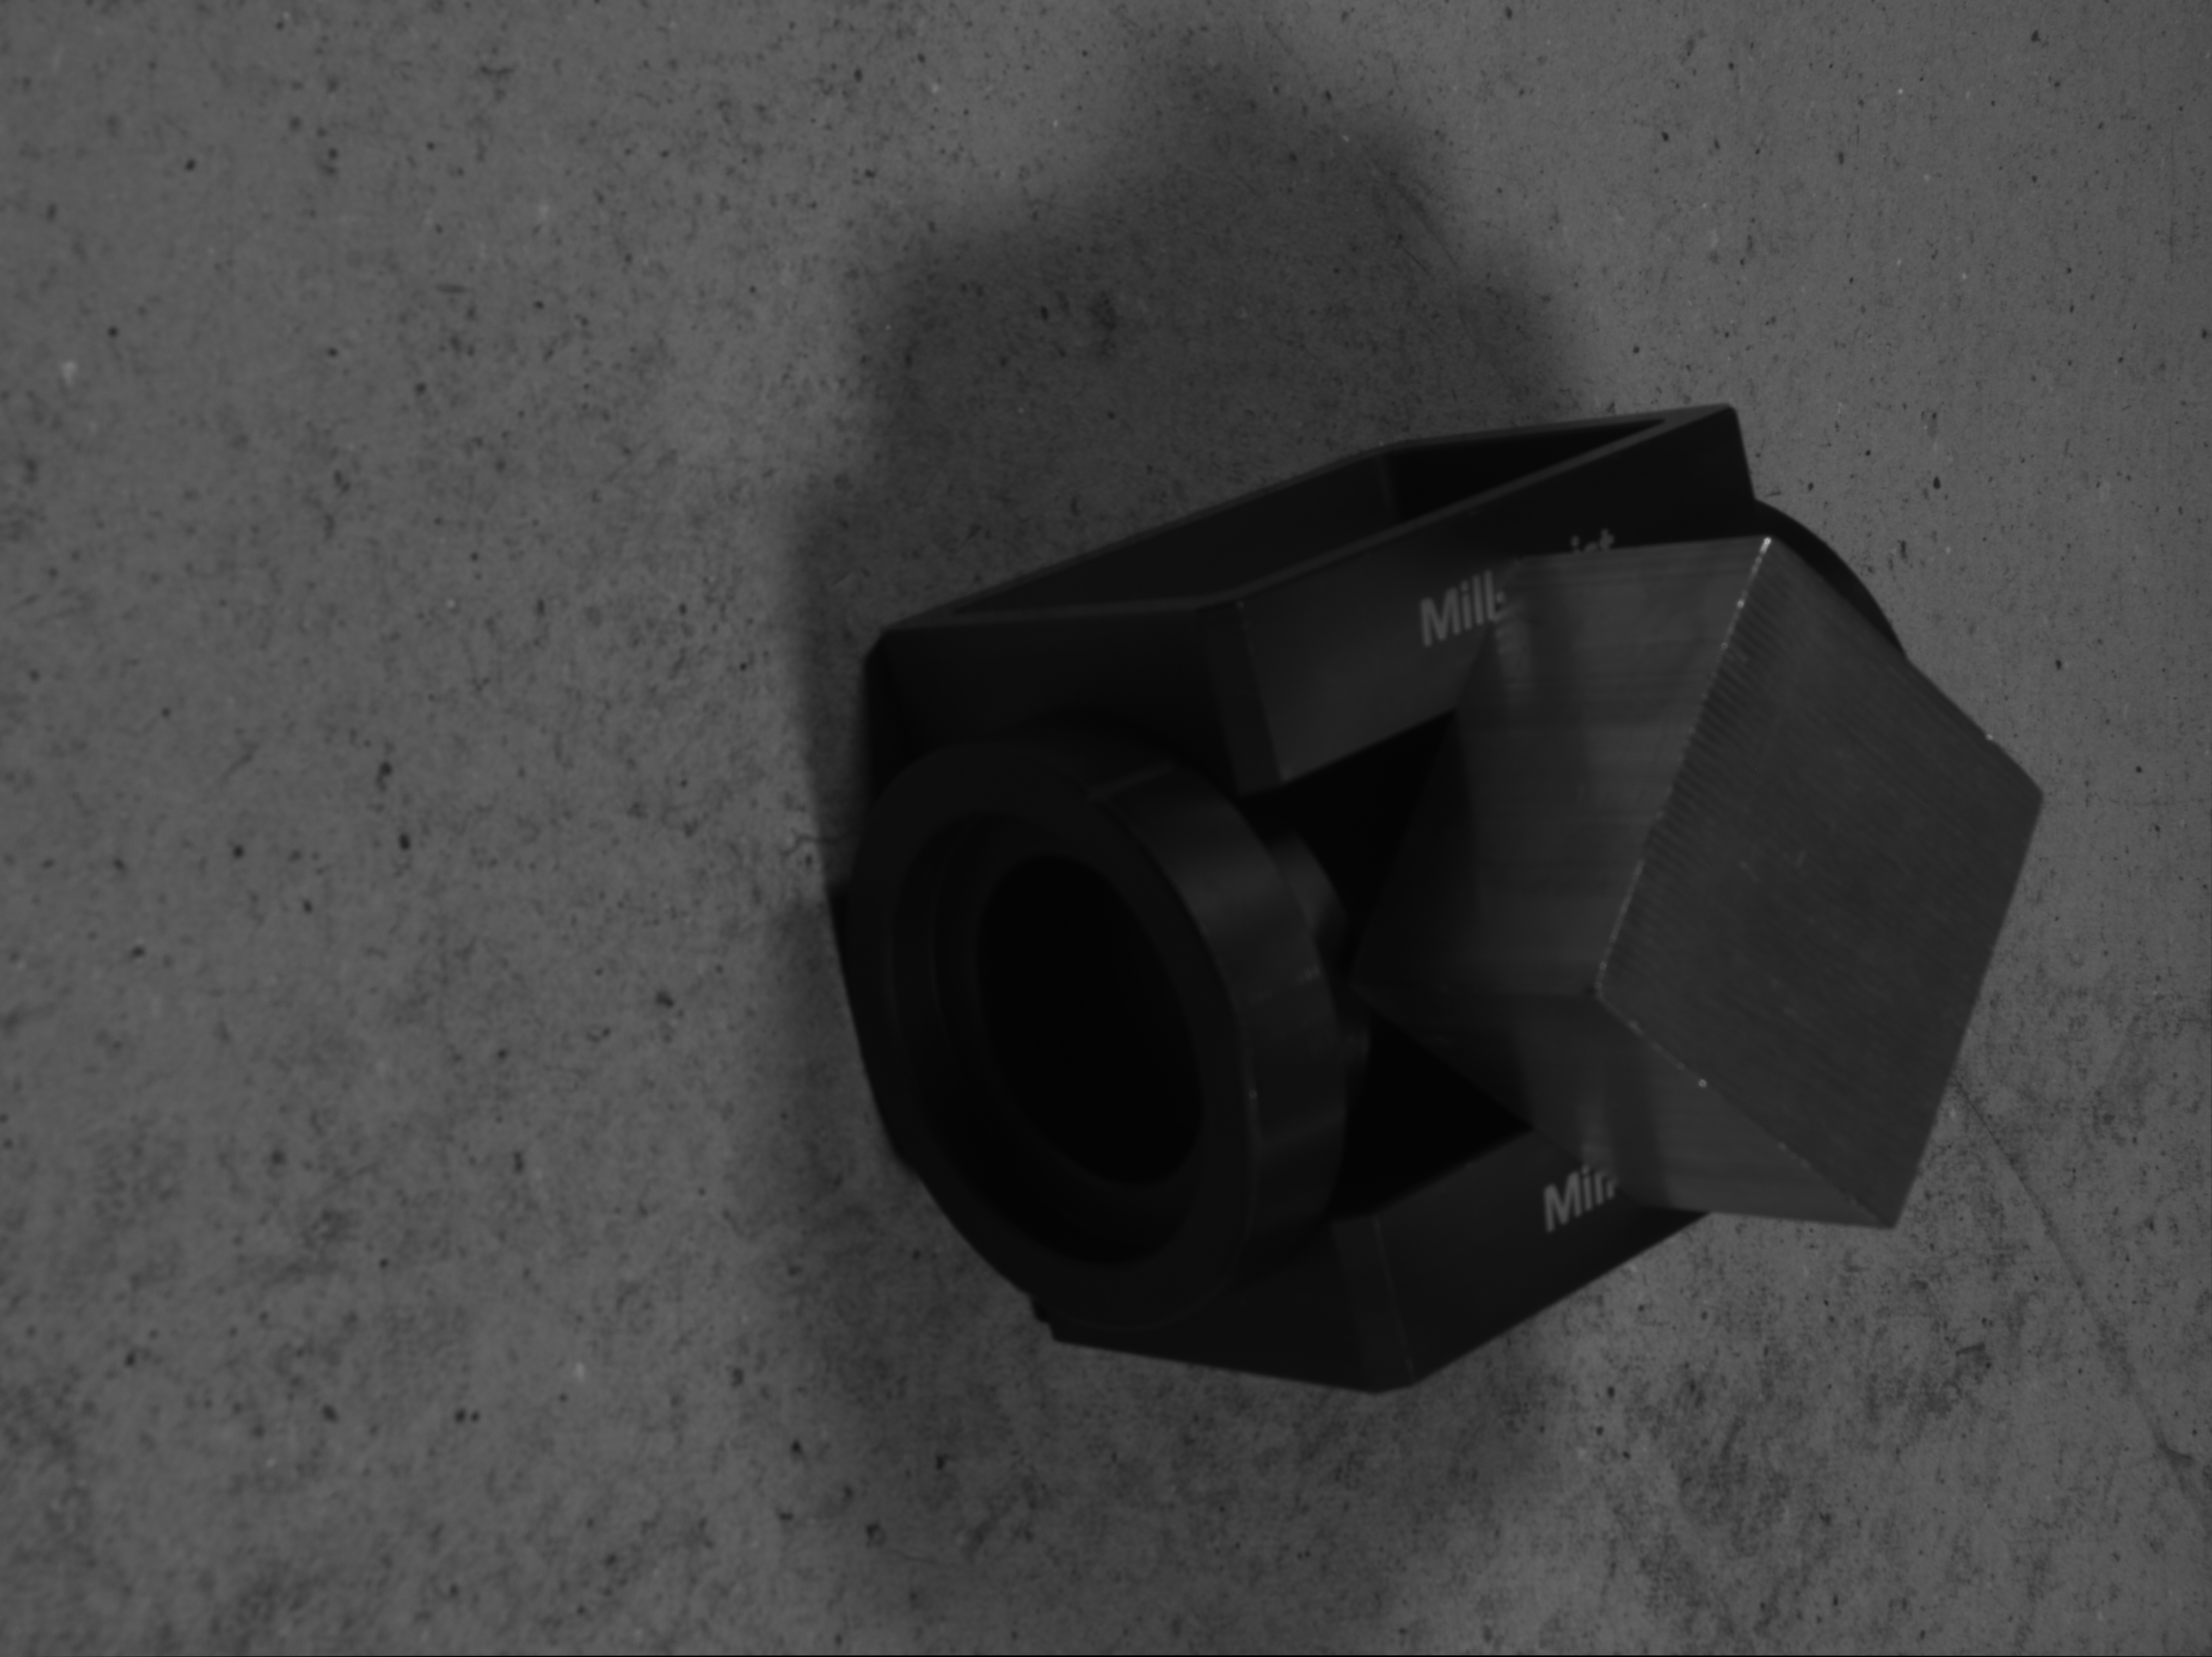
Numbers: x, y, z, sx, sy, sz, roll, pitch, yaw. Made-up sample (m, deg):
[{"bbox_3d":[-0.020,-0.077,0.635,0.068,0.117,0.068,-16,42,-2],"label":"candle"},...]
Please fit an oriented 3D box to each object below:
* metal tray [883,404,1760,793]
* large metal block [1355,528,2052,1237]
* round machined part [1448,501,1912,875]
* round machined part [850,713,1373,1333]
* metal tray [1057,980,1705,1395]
[{"bbox_3d":[0.039,-0.040,0.629,0.130,0.090,0.030,-23,104,-37],"label":"metal tray"},{"bbox_3d":[0.096,0.009,0.582,0.080,0.050,0.080,37,68,-34],"label":"large metal block"},{"bbox_3d":[0.102,-0.011,0.674,0.042,0.098,0.098,-20,102,-38],"label":"round machined part"},{"bbox_3d":[0.005,0.028,0.594,0.042,0.098,0.098,-20,102,-38],"label":"round machined part"},{"bbox_3d":[0.062,0.056,0.645,0.130,0.090,0.030,-22,104,-38],"label":"metal tray"}]
